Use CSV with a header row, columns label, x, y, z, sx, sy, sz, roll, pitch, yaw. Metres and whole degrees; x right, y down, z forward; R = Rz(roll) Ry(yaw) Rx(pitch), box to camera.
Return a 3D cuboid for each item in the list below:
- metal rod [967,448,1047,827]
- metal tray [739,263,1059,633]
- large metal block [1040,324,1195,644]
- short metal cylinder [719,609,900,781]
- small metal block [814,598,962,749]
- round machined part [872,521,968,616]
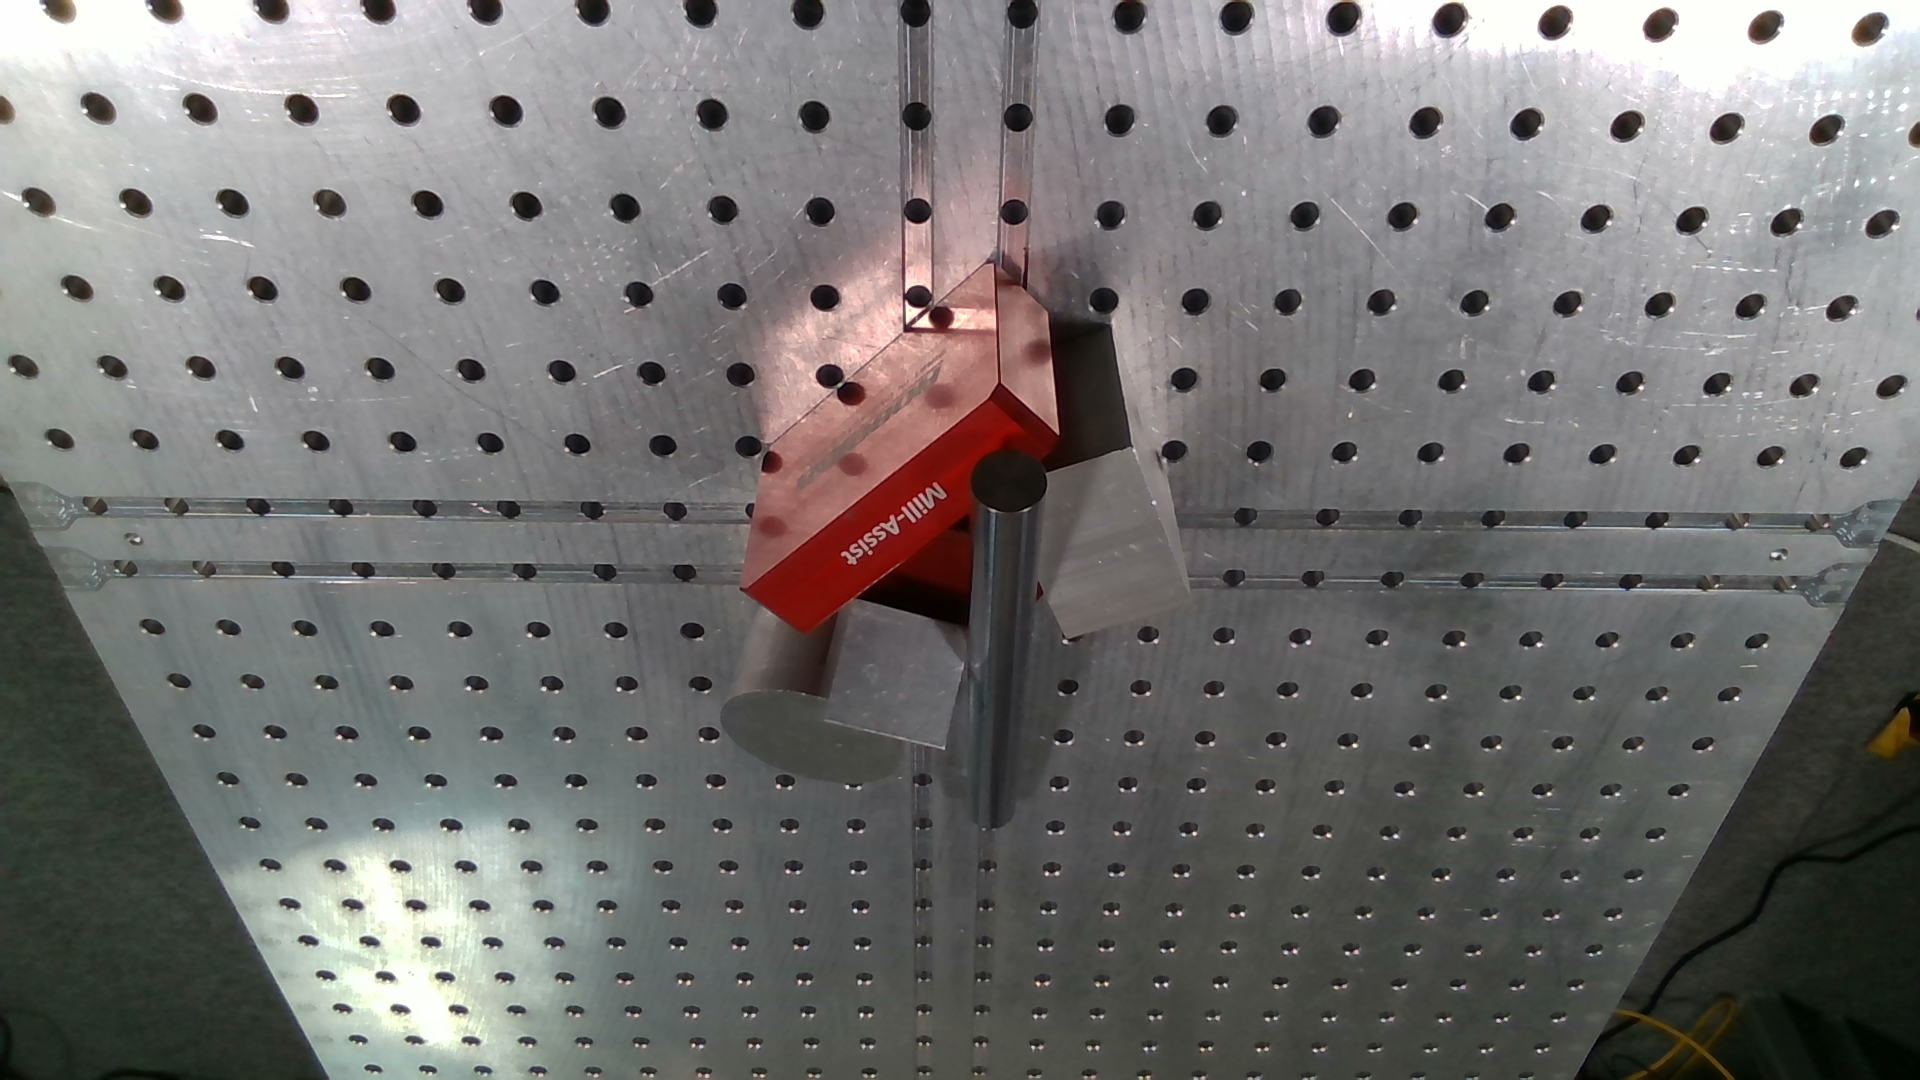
label,x,y,z,sx,sy,sz,roll,pitch,yaw
metal rod,0.016,0.057,0.569,0.025,0.025,0.301,0,149,0
metal tray,-0.024,-0.034,0.510,0.130,0.090,0.030,-36,121,26
large metal block,0.050,-0.022,0.526,0.050,0.080,0.080,-17,128,14
short metal cylinder,-0.060,0.066,0.605,0.080,0.050,0.080,10,146,7
small metal block,-0.028,0.053,0.554,0.050,0.050,0.025,16,170,-15
round machined part,-0.009,0.006,0.579,0.098,0.042,0.098,0,130,0
